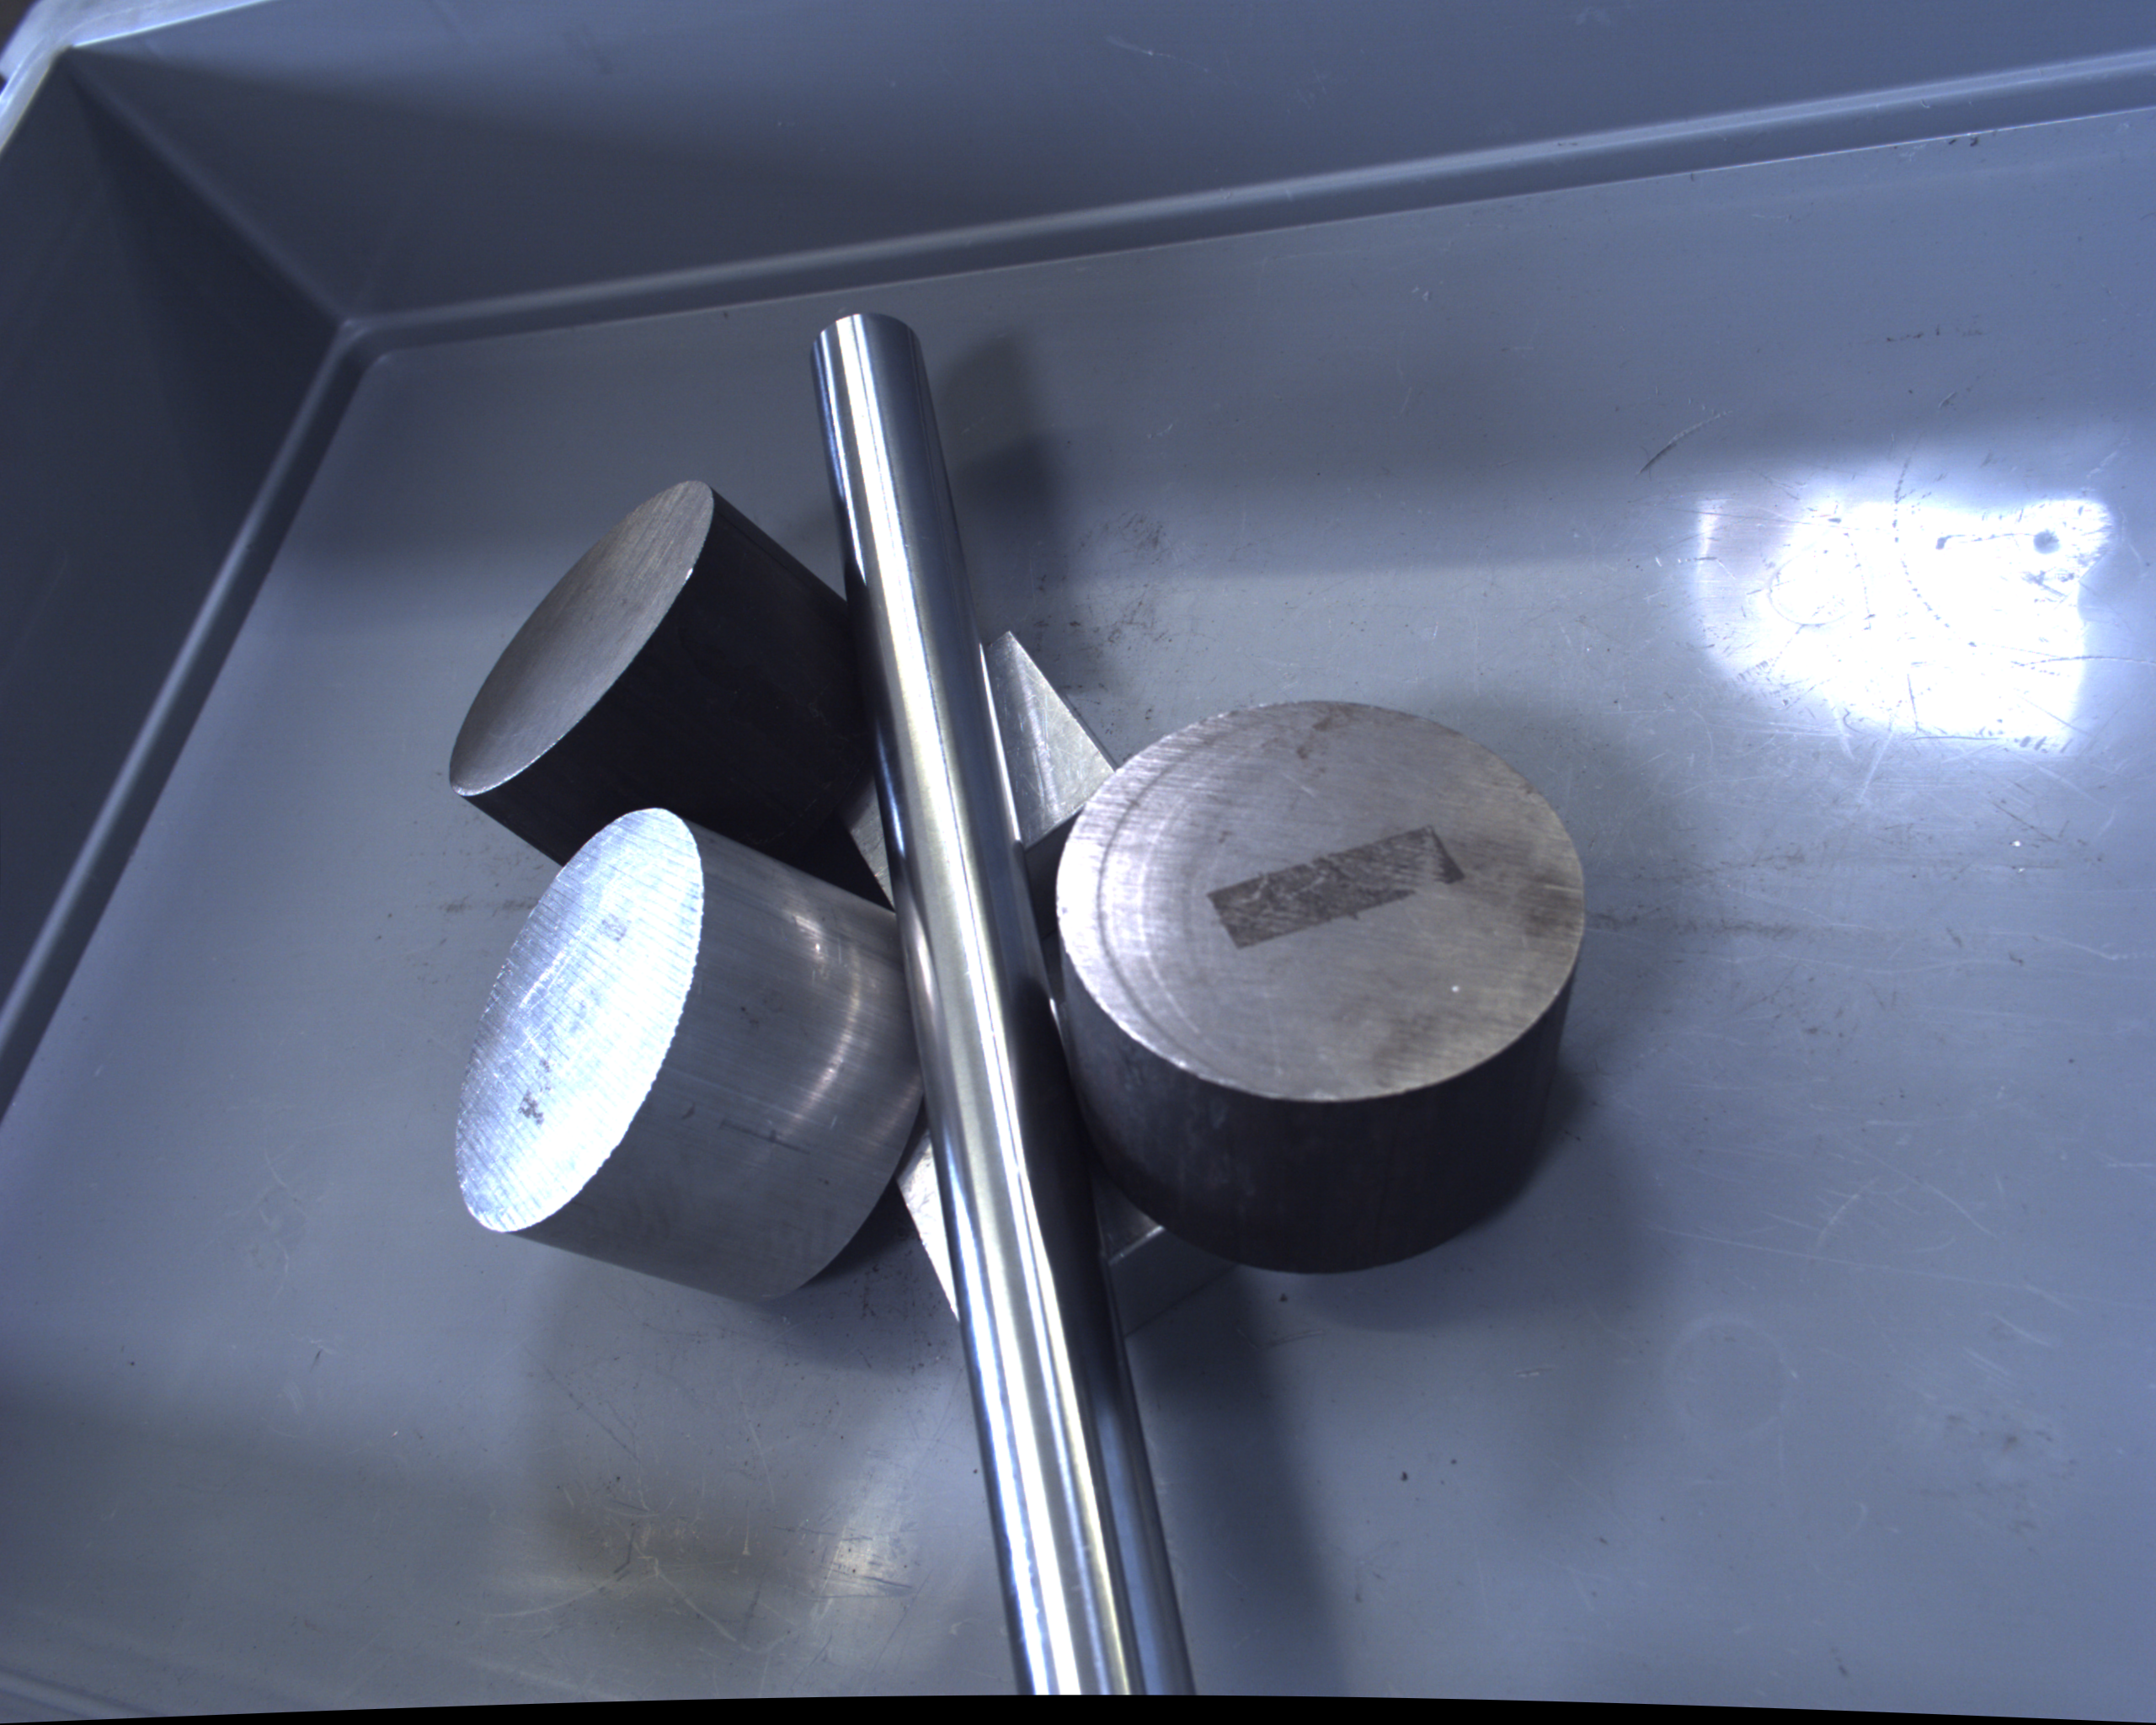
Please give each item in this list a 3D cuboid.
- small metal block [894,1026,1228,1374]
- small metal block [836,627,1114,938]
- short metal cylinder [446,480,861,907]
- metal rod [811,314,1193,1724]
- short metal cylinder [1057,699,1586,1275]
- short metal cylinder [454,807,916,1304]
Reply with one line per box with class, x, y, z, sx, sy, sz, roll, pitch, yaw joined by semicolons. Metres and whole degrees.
small metal block;-0.002;0.057;0.370;0.050;0.025;0.050;-35;51;5
small metal block;-0.017;-0.011;0.420;0.050;0.025;0.050;-37;51;3
short metal cylinder;-0.085;-0.033;0.434;0.080;0.050;0.080;-34;33;26
metal rod;-0.022;0.006;0.378;0.025;0.025;0.299;-23;53;14
short metal cylinder;0.038;0.019;0.339;0.080;0.050;0.080;-2;49;2
short metal cylinder;-0.072;0.036;0.386;0.080;0.050;0.080;-31;45;38
